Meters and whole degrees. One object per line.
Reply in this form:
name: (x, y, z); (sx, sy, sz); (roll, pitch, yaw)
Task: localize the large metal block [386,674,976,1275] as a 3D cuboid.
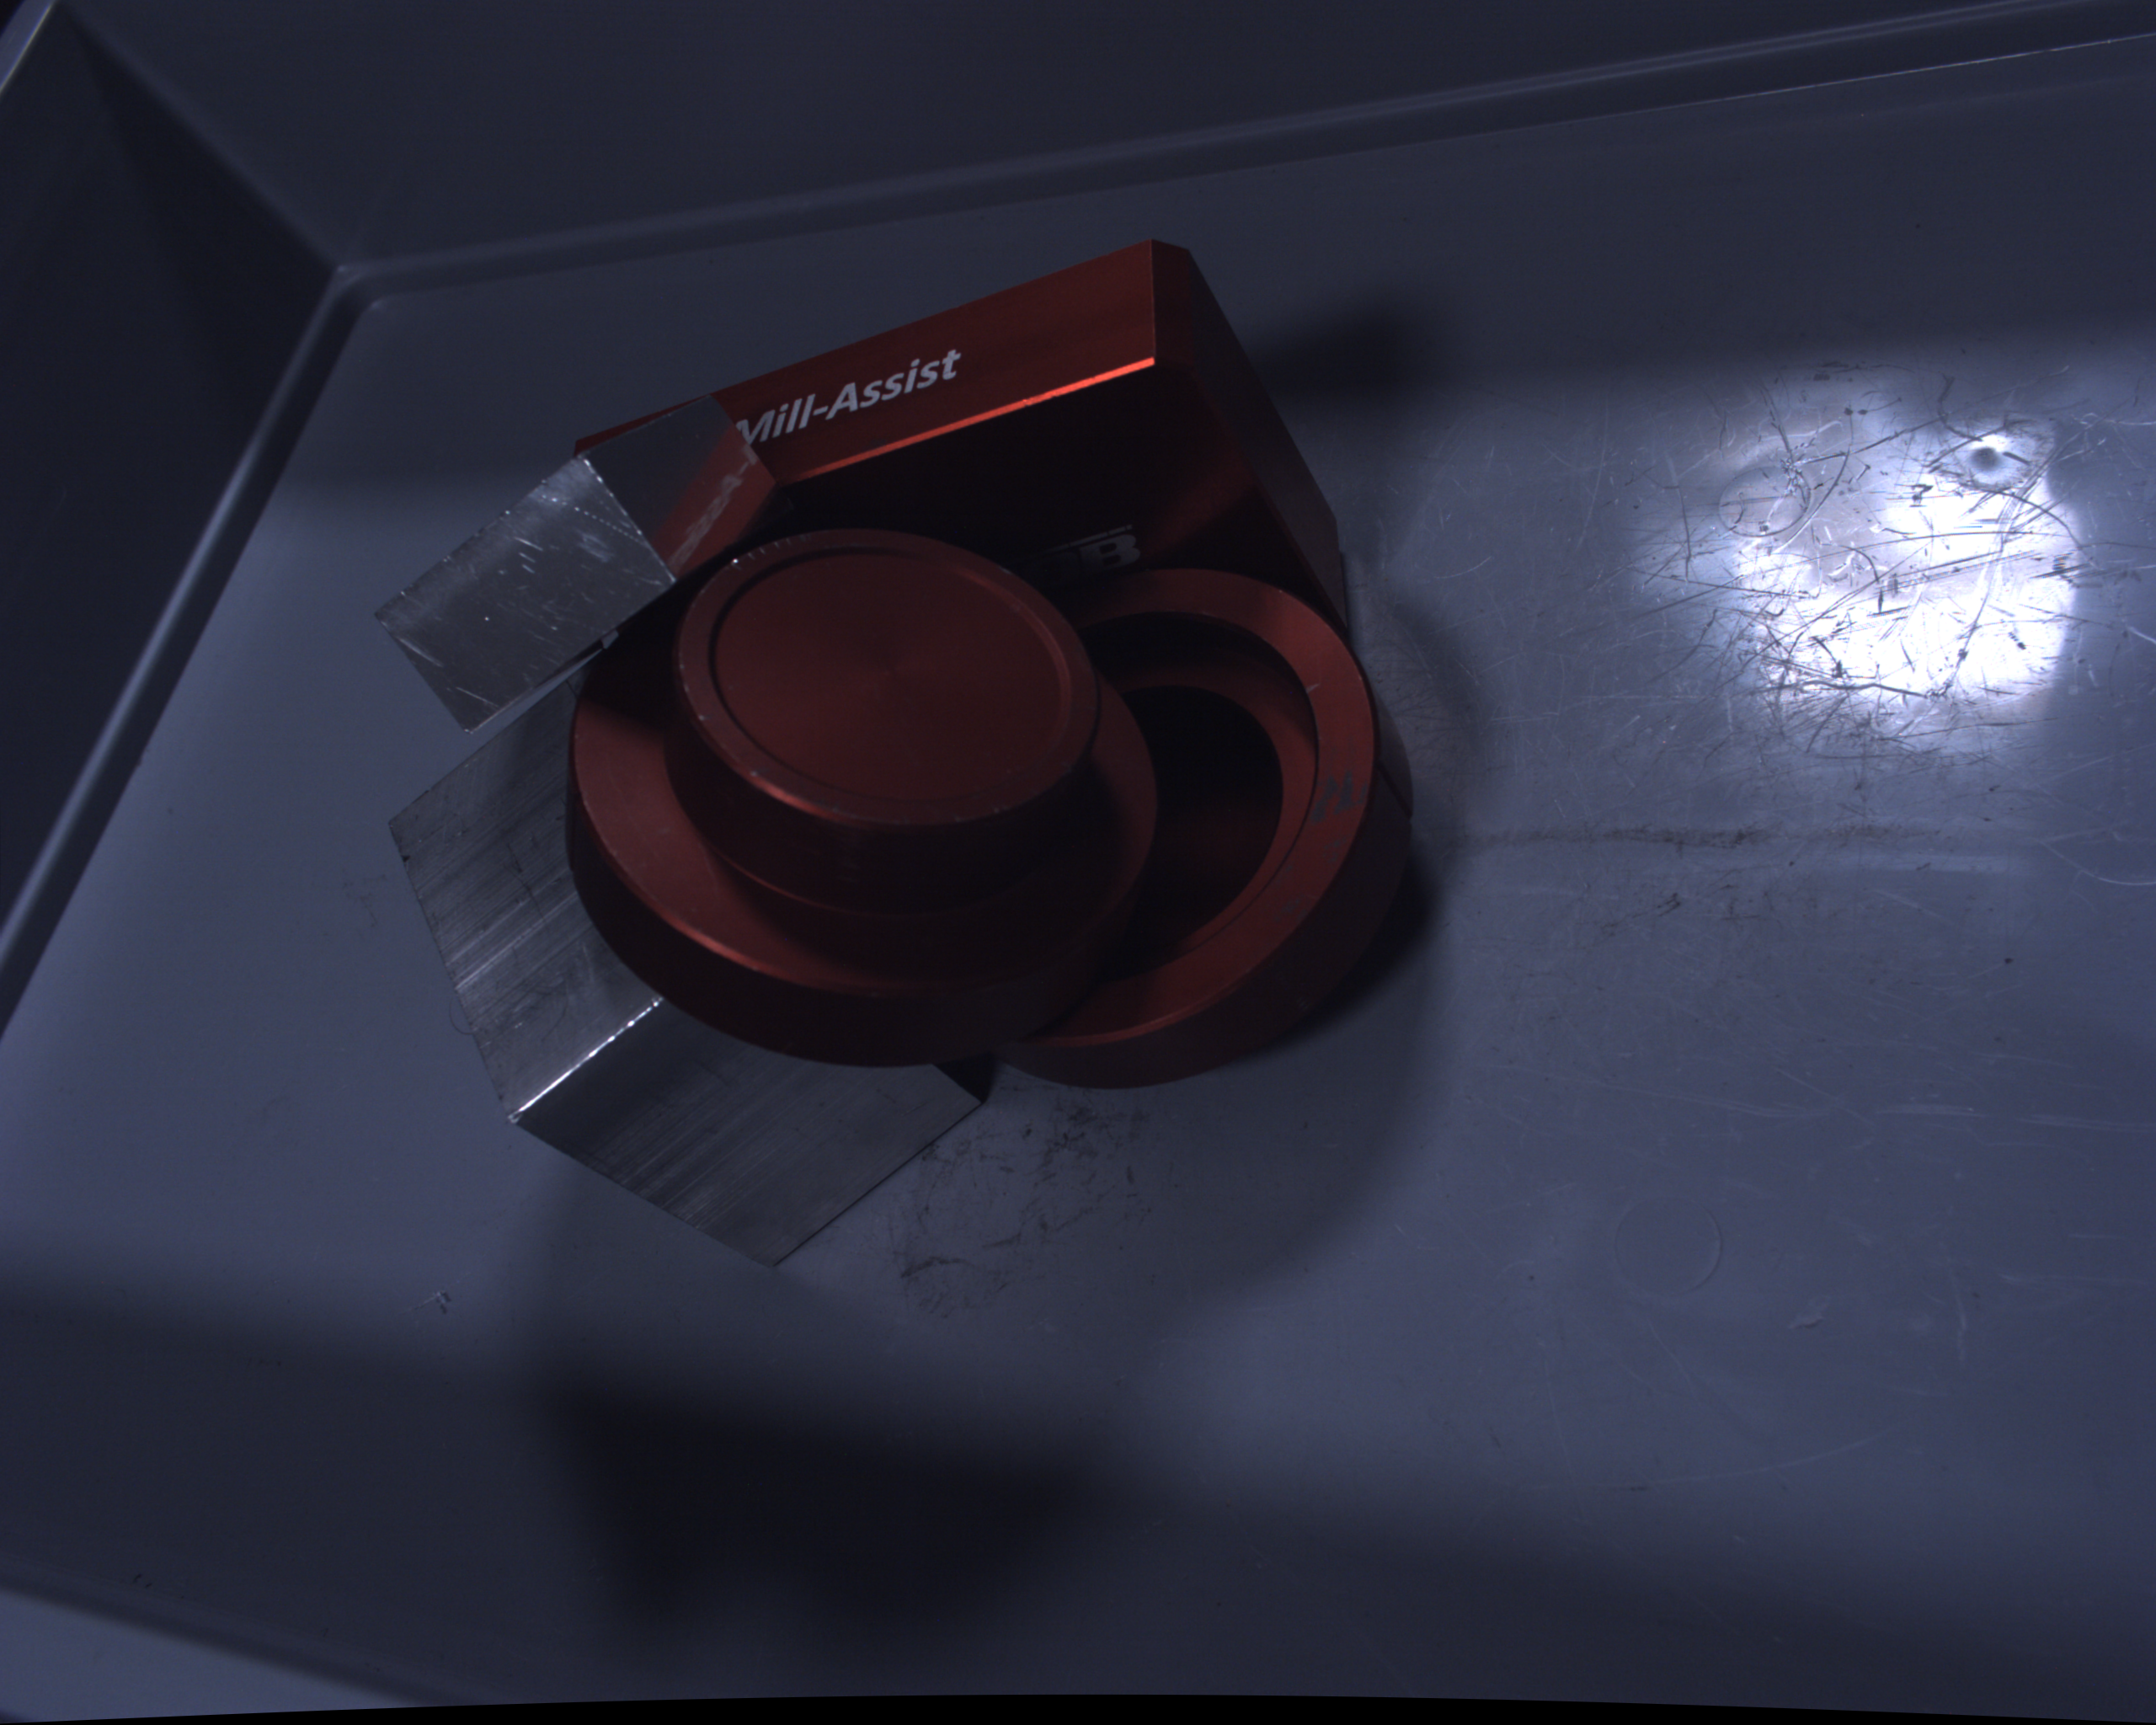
large metal block: (-0.074, 0.020, 0.394); (0.050, 0.080, 0.080); (-38, 51, 3)

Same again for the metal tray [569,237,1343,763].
metal tray: (-0.024, -0.063, 0.411); (0.130, 0.090, 0.030); (-14, 57, 20)

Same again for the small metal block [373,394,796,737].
small metal block: (-0.084, -0.052, 0.359); (0.050, 0.025, 0.050); (-30, 12, 24)

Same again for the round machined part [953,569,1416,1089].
round machined part: (0.015, -0.003, 0.387); (0.098, 0.042, 0.098); (-13, 56, 20)

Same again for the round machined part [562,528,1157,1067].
round machined part: (-0.034, -0.018, 0.346); (0.099, 0.042, 0.098); (9, 48, -10)
